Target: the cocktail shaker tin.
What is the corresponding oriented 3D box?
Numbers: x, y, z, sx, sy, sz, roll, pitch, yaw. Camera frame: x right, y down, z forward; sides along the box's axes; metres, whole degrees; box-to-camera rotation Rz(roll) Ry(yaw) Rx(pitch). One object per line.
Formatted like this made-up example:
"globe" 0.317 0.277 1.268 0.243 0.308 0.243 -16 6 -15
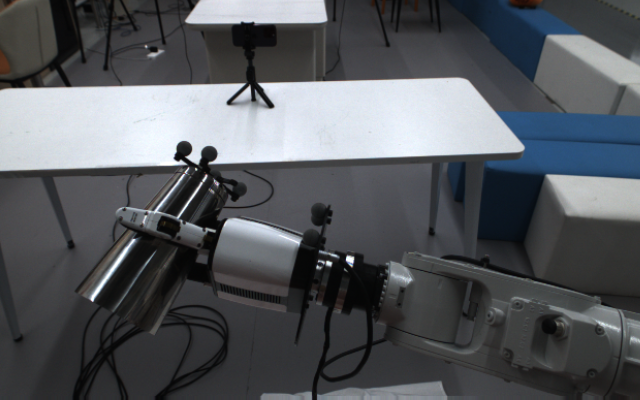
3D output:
"cocktail shaker tin" -0.171 0.046 0.526 0.093 0.093 0.170 18 66 22
